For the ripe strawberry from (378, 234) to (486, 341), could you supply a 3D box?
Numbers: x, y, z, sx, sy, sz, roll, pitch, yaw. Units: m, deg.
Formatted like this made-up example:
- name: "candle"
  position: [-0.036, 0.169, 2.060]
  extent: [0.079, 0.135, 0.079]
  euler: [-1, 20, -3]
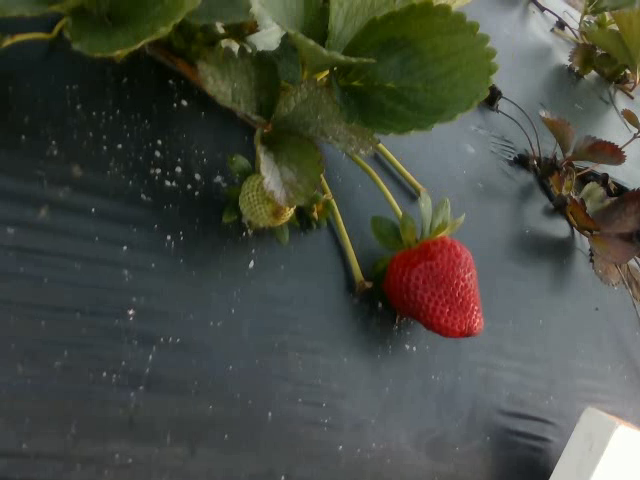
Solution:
- name: "ripe strawberry"
  position: [0.052, 0.023, 0.254]
  extent: [0.045, 0.042, 0.055]
  euler: [-25, 41, -8]
